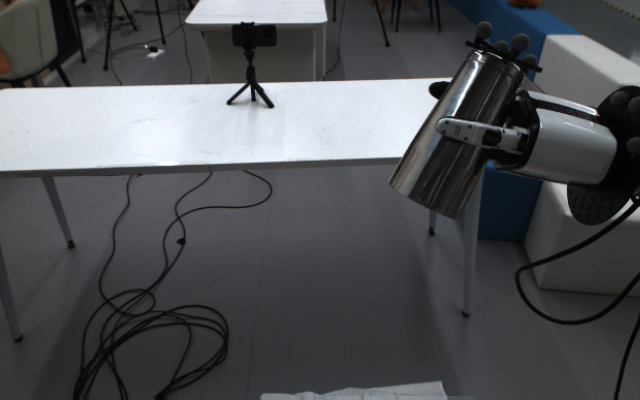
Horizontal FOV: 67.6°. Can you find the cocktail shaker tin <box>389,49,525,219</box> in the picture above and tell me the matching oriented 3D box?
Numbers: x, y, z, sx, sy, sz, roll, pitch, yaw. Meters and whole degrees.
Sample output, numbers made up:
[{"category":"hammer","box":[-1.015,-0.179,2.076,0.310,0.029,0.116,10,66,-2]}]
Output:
[{"category":"cocktail shaker tin","box":[0.159,-0.077,0.544,0.093,0.170,0.093,24,13,-6]}]
